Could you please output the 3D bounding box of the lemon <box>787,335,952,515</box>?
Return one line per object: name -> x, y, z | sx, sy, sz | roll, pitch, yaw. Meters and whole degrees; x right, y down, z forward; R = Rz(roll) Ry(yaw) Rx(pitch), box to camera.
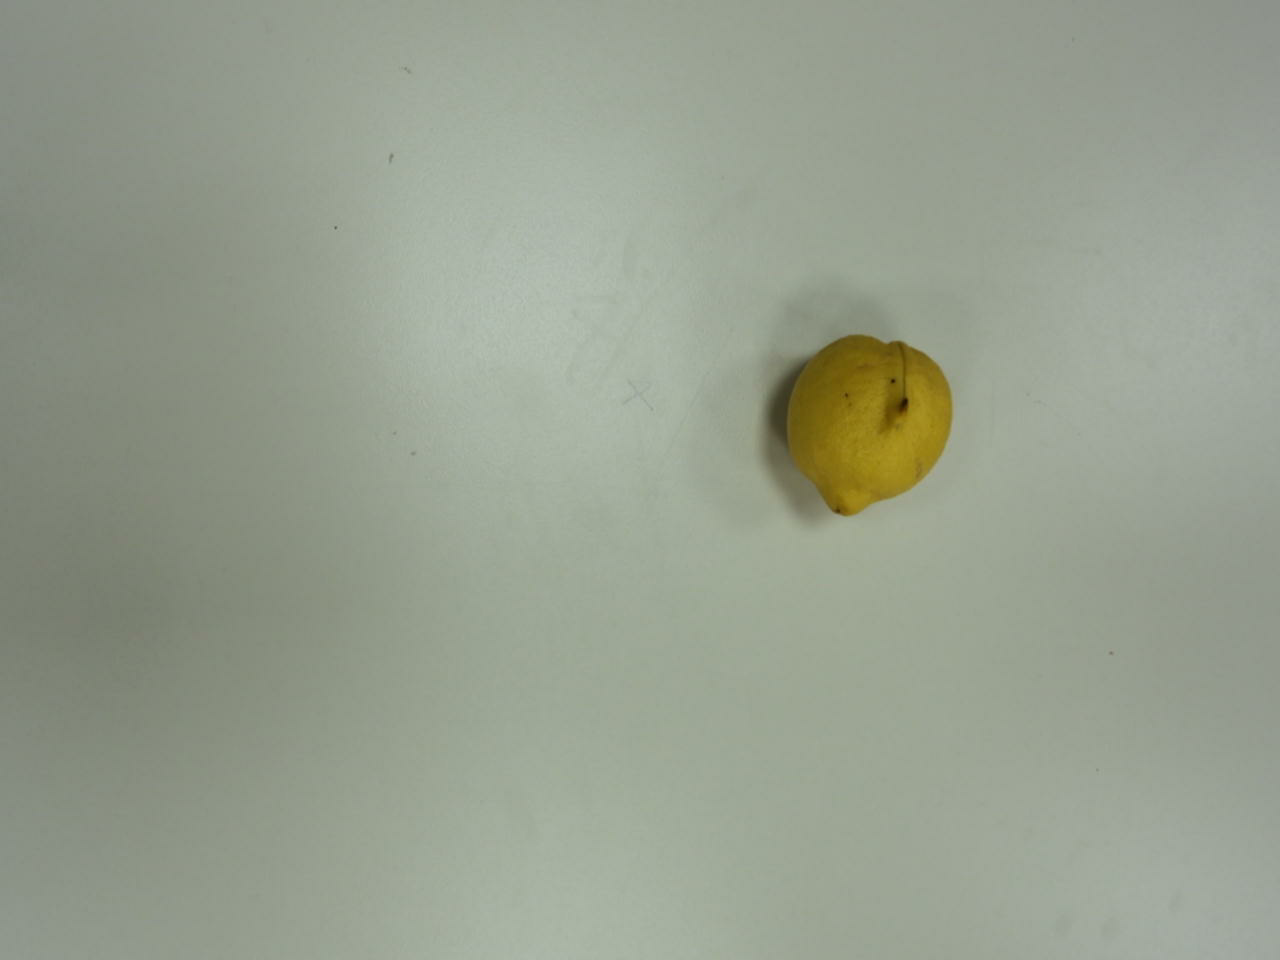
lemon -> 0.097, -0.027, 0.423 | 0.071, 0.071, 0.070 | -34, 97, -9
